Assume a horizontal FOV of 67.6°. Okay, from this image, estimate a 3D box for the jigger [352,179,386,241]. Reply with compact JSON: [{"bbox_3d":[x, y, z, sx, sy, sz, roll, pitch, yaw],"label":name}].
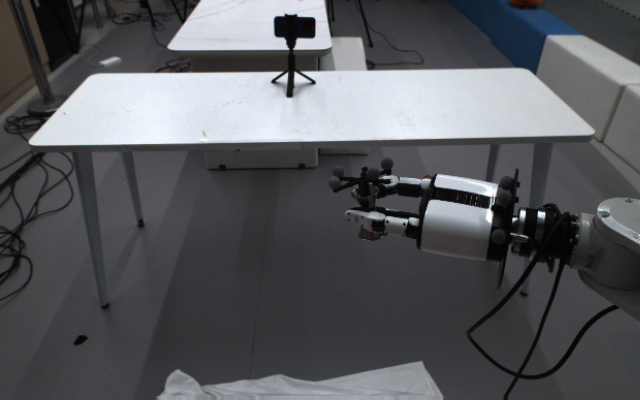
[{"bbox_3d":[0.070,0.018,0.687,0.043,0.071,0.043,-12,24,5],"label":"jigger"}]
